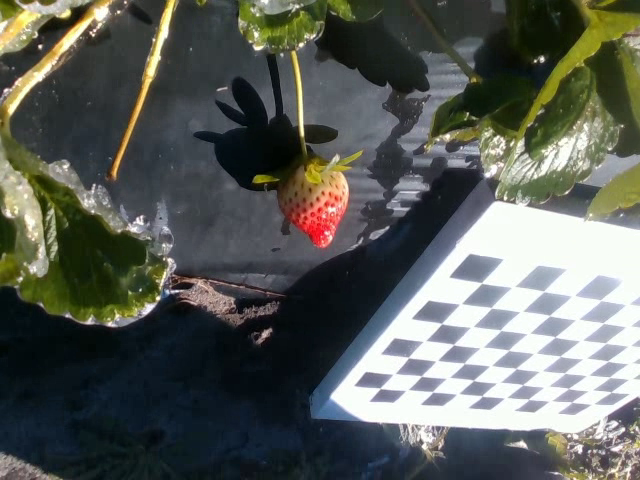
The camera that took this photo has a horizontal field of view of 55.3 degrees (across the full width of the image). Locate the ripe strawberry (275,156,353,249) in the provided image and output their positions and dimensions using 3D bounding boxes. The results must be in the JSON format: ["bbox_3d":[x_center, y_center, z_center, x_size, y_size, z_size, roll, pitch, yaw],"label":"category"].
[{"bbox_3d":[-0.001,-0.017,0.291,0.039,0.053,0.040,-5,34,-4],"label":"ripe strawberry"}]
